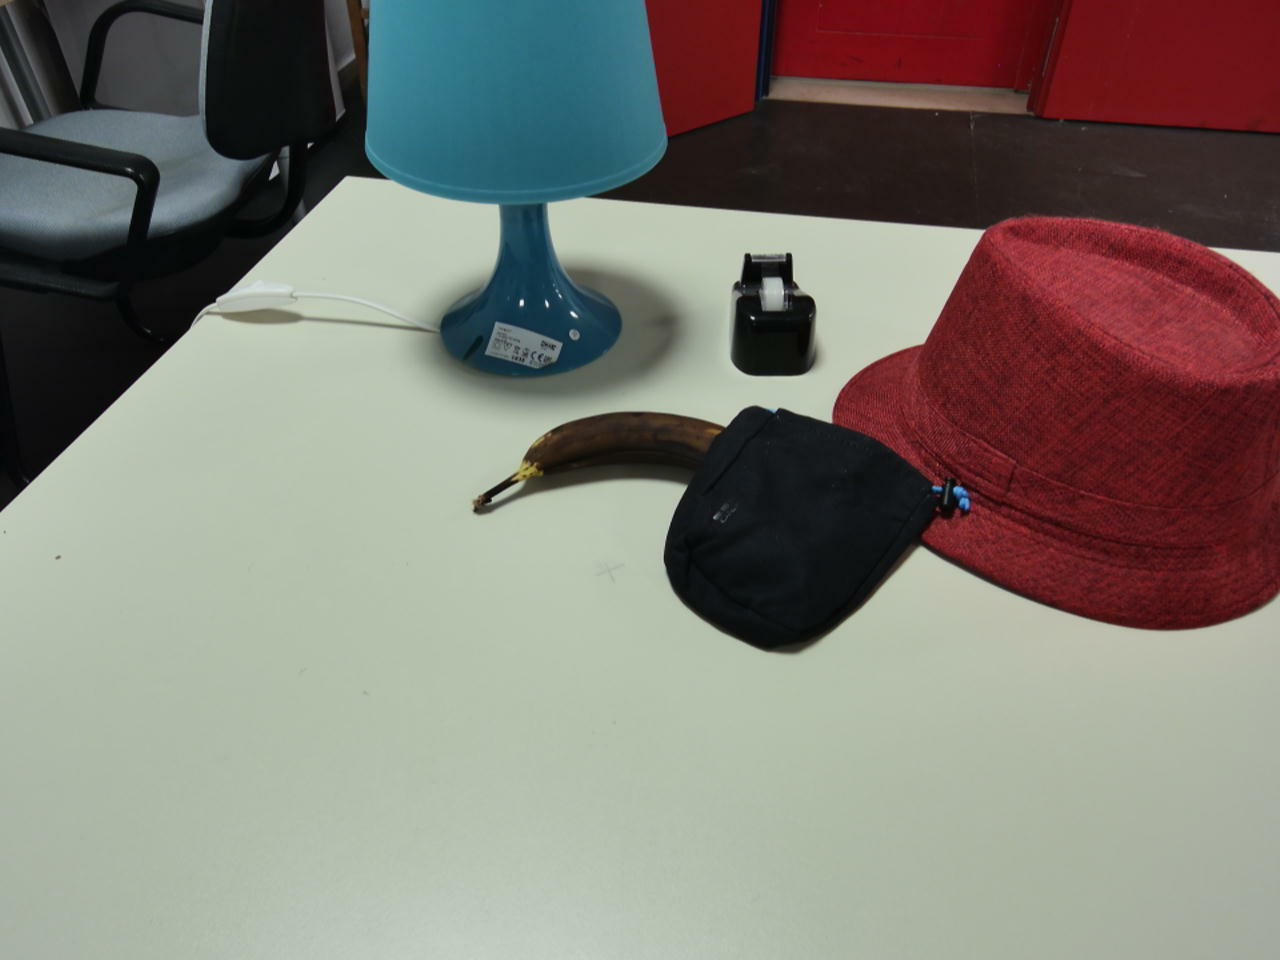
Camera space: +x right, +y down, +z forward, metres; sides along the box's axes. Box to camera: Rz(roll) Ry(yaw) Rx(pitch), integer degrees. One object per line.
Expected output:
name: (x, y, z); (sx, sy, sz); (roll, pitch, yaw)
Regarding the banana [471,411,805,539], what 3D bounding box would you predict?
banana: (0.004, -0.009, 0.585); (0.188, 0.034, 0.091); (8, 40, 11)
